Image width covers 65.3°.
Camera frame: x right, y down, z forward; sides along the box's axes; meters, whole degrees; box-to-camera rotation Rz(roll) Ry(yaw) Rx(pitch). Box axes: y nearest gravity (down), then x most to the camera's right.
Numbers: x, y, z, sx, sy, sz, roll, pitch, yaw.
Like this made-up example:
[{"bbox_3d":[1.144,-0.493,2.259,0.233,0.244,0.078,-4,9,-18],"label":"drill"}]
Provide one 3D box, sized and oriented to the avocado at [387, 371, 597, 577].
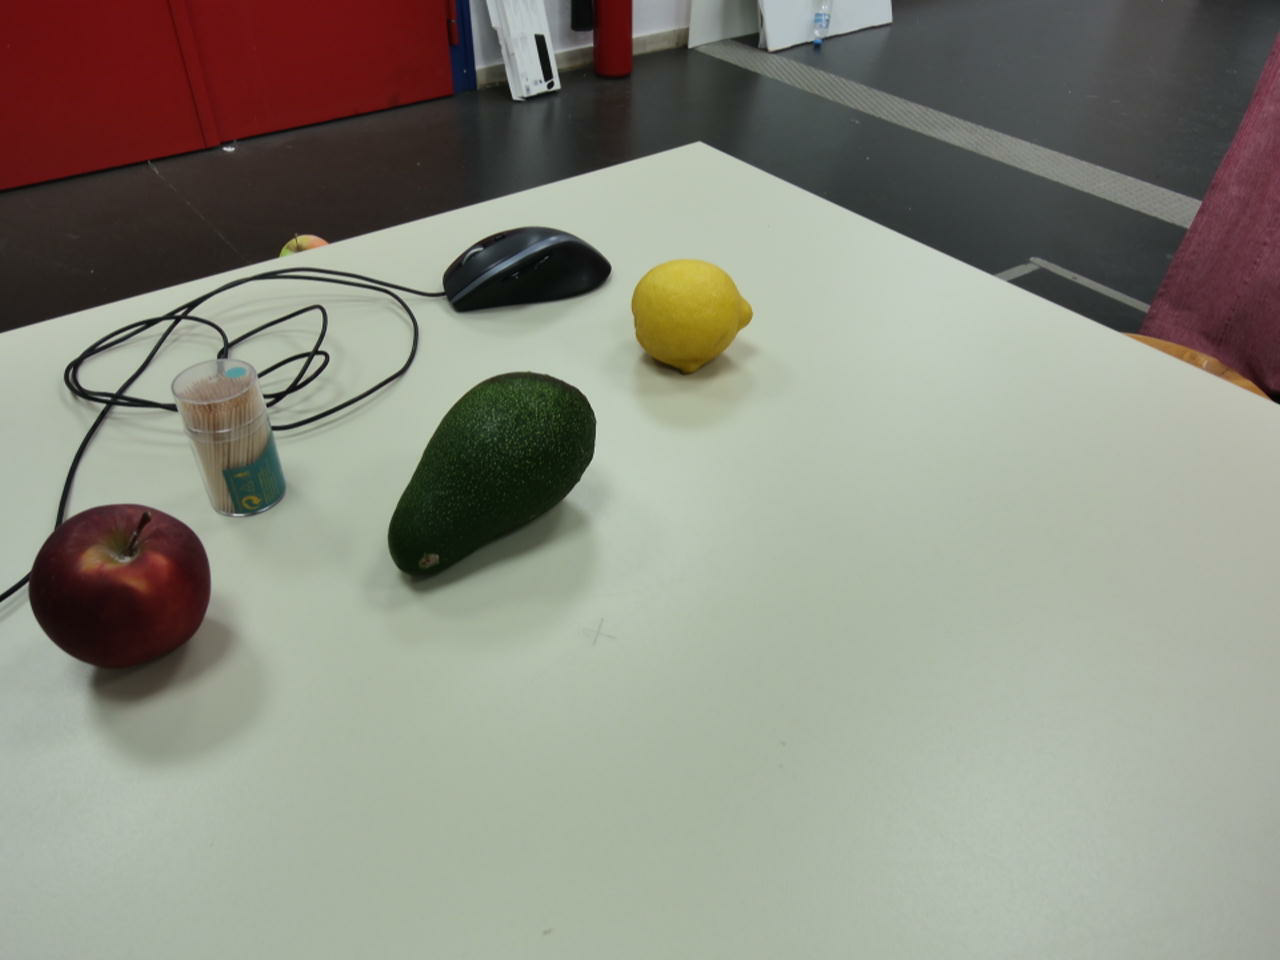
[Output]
[{"bbox_3d":[-0.078,-0.011,0.501,0.123,0.076,0.074,-20,42,-25],"label":"avocado"}]
